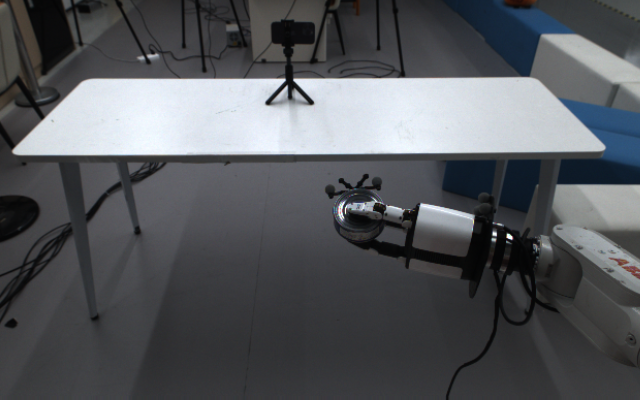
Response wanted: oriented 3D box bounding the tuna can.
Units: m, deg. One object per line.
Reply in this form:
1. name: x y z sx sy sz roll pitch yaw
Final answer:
1. tuna can: 0.068 0.030 0.779 0.085 0.034 0.085 -3 58 5
